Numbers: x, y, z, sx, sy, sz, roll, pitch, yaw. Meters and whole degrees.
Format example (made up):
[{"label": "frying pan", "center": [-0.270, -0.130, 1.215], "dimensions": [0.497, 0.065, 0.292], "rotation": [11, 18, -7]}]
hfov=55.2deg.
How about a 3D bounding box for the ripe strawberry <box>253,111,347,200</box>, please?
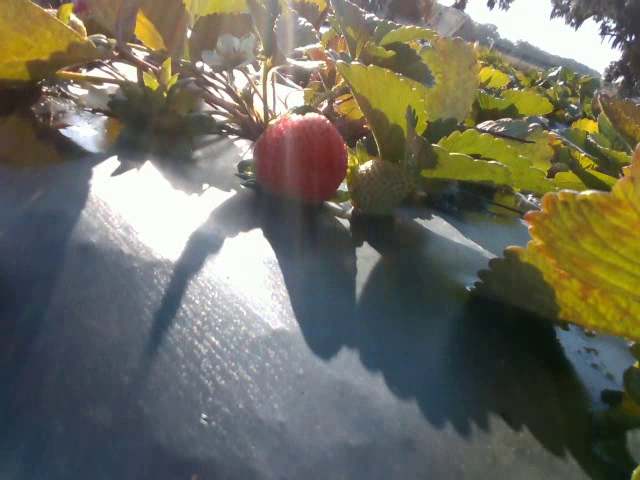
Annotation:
[{"label": "ripe strawberry", "center": [-0.003, -0.024, 0.185], "dimensions": [0.042, 0.037, 0.045], "rotation": [37, -30, 6]}]
